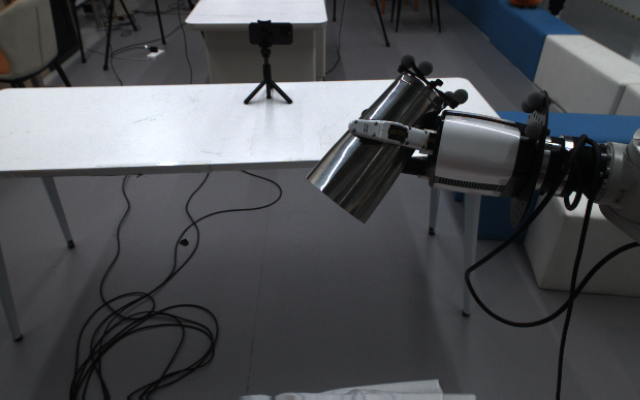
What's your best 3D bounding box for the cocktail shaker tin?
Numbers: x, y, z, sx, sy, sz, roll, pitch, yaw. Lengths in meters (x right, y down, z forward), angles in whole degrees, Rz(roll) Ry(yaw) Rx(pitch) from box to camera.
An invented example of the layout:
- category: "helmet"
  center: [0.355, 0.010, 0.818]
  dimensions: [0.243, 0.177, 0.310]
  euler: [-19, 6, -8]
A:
- category: "cocktail shaker tin"
  center: [0.073, -0.069, 0.588]
  dimensions: [0.170, 0.093, 0.093]
  euler: [-50, 46, 4]
